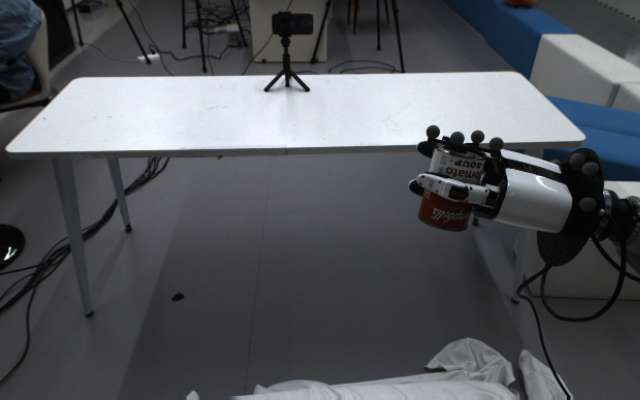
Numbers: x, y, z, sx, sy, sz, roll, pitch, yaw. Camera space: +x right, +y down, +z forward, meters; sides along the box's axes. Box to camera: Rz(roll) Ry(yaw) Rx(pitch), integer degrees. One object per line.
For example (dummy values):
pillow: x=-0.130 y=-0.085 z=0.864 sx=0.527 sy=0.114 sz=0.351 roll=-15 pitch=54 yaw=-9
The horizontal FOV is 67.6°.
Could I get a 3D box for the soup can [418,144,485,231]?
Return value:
soup can: x=0.175 y=-0.019 z=0.640 sx=0.067 sy=0.101 sz=0.067 roll=9 pitch=19 yaw=-3
